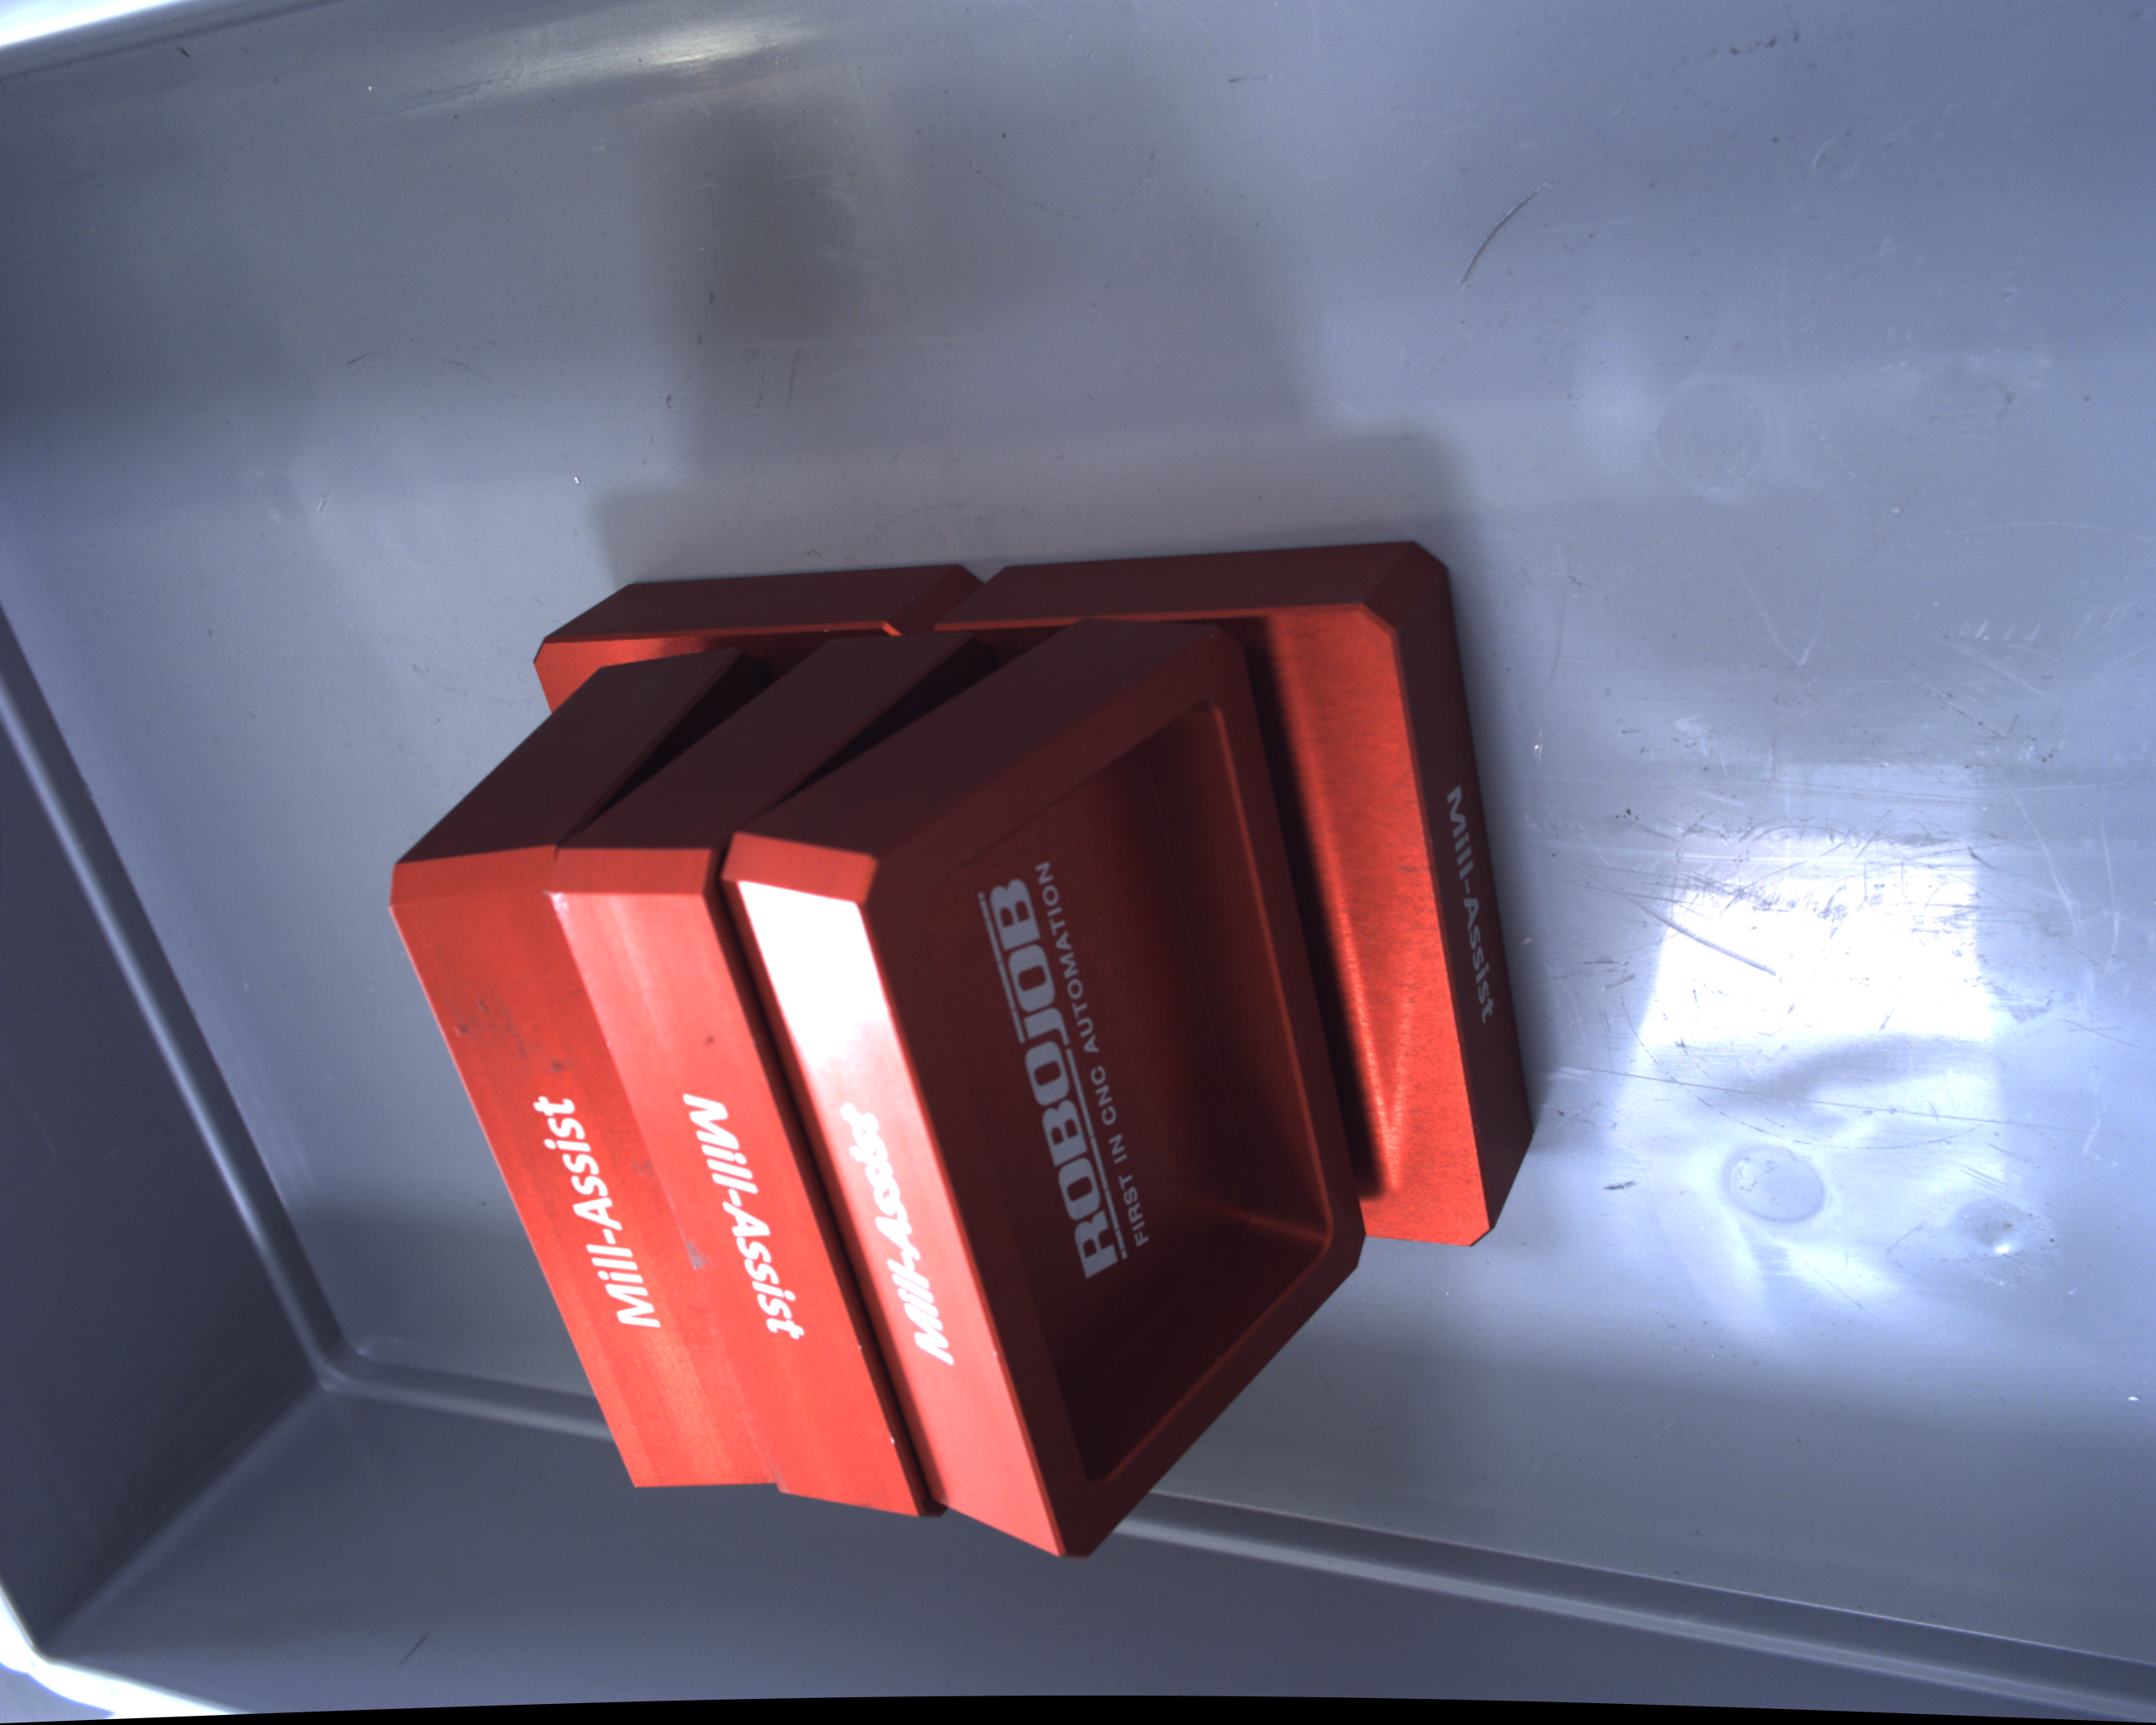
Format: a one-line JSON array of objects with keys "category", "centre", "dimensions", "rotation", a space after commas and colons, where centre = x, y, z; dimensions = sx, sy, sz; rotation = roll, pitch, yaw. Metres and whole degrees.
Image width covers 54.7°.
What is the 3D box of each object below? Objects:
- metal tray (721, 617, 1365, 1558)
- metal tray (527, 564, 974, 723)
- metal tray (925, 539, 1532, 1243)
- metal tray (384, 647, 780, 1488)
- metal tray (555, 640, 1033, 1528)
[{"category": "metal tray", "centre": [0.001, 0.036, 0.344], "dimensions": [0.030, 0.091, 0.129], "rotation": [9, 124, 40]}, {"category": "metal tray", "centre": [-0.051, 0.006, 0.433], "dimensions": [0.090, 0.030, 0.129], "rotation": [0, 119, 28]}, {"category": "metal tray", "centre": [0.030, 0.008, 0.392], "dimensions": [0.090, 0.030, 0.129], "rotation": [0, 119, 28]}, {"category": "metal tray", "centre": [-0.070, 0.037, 0.382], "dimensions": [0.030, 0.090, 0.129], "rotation": [-6, 116, 17]}, {"category": "metal tray", "centre": [-0.034, 0.037, 0.364], "dimensions": [0.030, 0.090, 0.129], "rotation": [0, 116, 28]}]
